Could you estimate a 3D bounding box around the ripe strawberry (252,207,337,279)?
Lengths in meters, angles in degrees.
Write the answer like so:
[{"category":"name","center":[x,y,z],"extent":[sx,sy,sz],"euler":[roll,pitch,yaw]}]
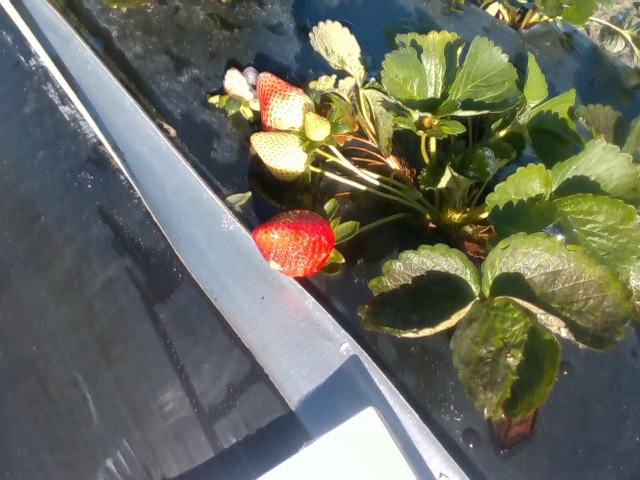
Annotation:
[{"category":"ripe strawberry","center":[-0.015,-0.001,0.268],"extent":[0.038,0.036,0.045],"euler":[-43,-31,13]}]
